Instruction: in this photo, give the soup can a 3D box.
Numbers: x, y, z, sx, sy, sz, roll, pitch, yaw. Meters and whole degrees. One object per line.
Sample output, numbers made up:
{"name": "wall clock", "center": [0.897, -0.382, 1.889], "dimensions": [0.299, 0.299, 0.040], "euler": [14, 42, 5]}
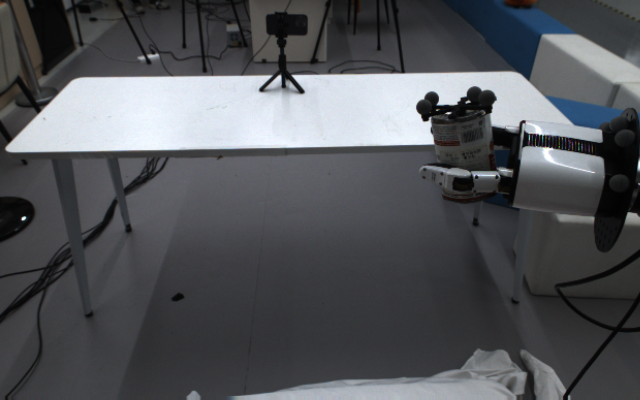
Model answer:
{"name": "soup can", "center": [0.174, -0.056, 0.574], "dimensions": [0.067, 0.101, 0.067], "euler": [-13, 20, 5]}
